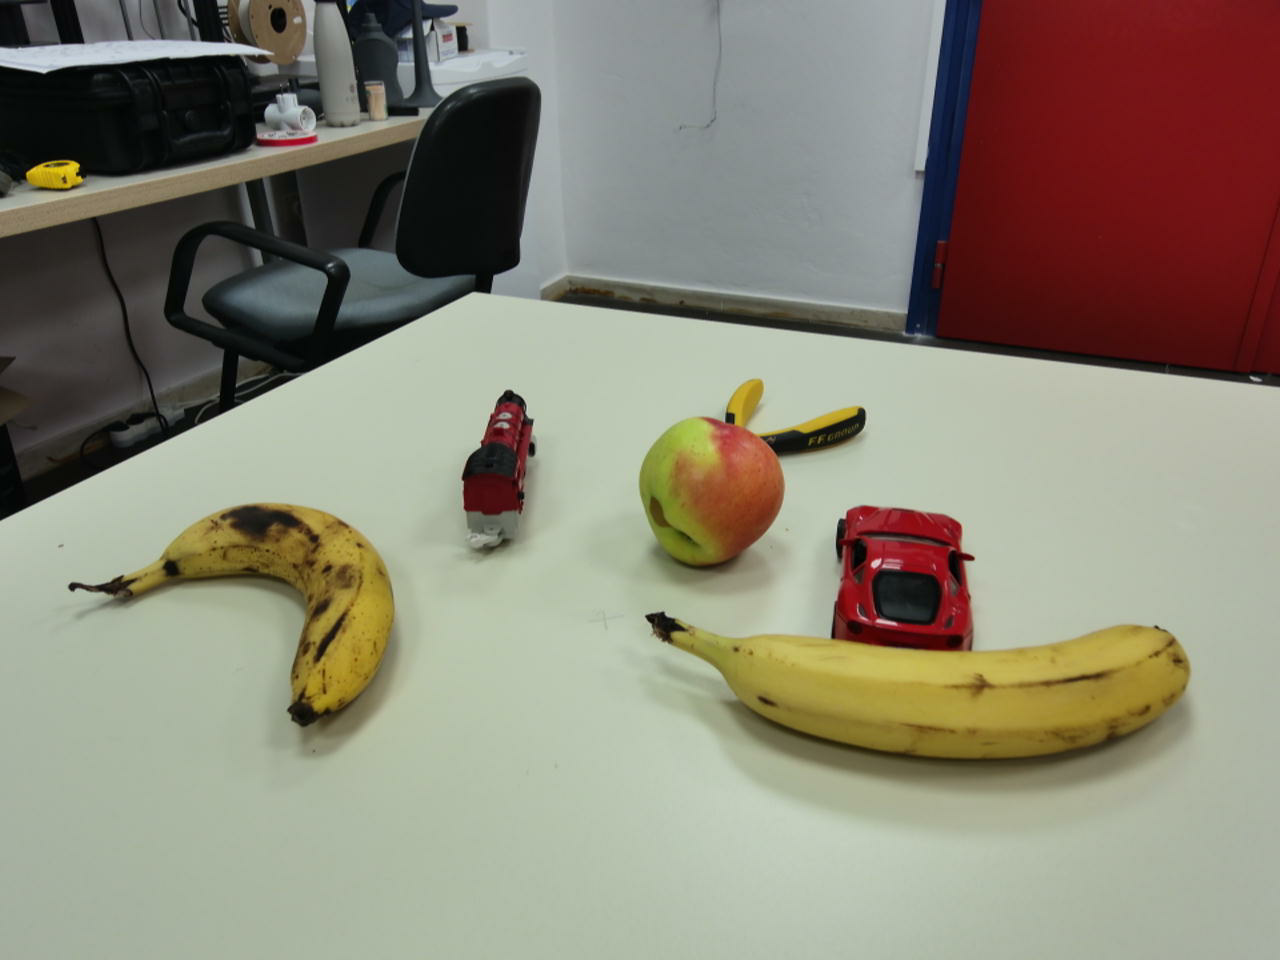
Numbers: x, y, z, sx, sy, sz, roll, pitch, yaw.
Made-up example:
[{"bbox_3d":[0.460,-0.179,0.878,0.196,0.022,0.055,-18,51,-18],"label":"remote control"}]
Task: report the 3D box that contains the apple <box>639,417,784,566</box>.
[{"bbox_3d":[0.037,0.006,0.520,0.075,0.074,0.075,1,25,4],"label":"apple"}]
